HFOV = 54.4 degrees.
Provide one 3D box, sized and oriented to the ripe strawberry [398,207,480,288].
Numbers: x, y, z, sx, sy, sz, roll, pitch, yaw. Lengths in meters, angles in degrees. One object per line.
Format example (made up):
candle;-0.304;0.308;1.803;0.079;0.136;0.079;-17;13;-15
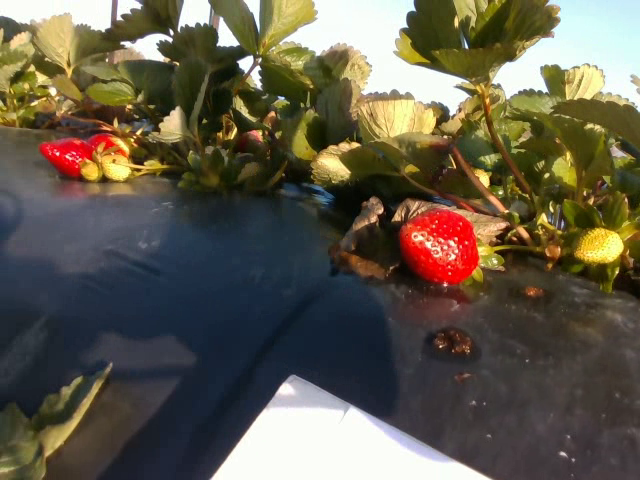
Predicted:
ripe strawberry;0.043;0.002;0.253;0.054;0.037;0.047;7;26;-41
